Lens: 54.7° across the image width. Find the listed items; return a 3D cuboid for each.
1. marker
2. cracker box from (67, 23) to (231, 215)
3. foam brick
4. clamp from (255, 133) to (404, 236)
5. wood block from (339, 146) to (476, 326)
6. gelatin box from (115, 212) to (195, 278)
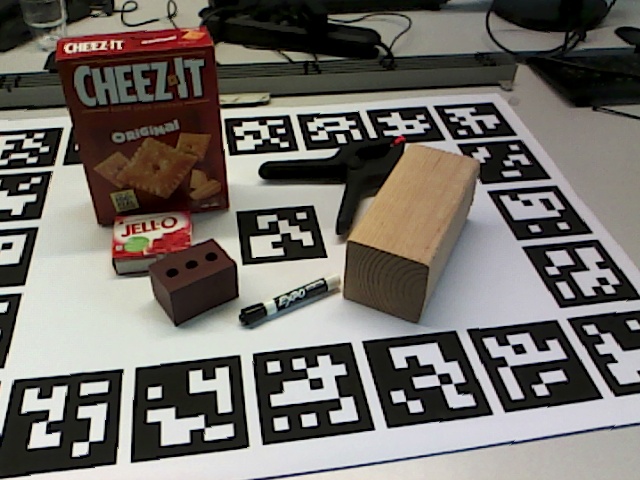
[{"bbox_3d":[-0.045,0.069,0.664,0.120,0.019,0.020,-21,50,-22],"label":"marker"},{"bbox_3d":[-0.193,-0.137,0.732,0.164,0.213,0.072,-7,43,-12],"label":"cracker box"},{"bbox_3d":[-0.138,0.046,0.663,0.078,0.051,0.053,-25,51,-25],"label":"foam brick"},{"bbox_3d":[0.039,-0.095,0.831,0.202,0.036,0.166,-30,52,-29],"label":"clamp"},{"bbox_3d":[0.104,-0.013,0.713,0.090,0.091,0.206,17,43,19],"label":"wood block"},{"bbox_3d":[-0.193,0.004,0.725,0.089,0.030,0.073,-6,45,-9],"label":"gelatin box"}]
